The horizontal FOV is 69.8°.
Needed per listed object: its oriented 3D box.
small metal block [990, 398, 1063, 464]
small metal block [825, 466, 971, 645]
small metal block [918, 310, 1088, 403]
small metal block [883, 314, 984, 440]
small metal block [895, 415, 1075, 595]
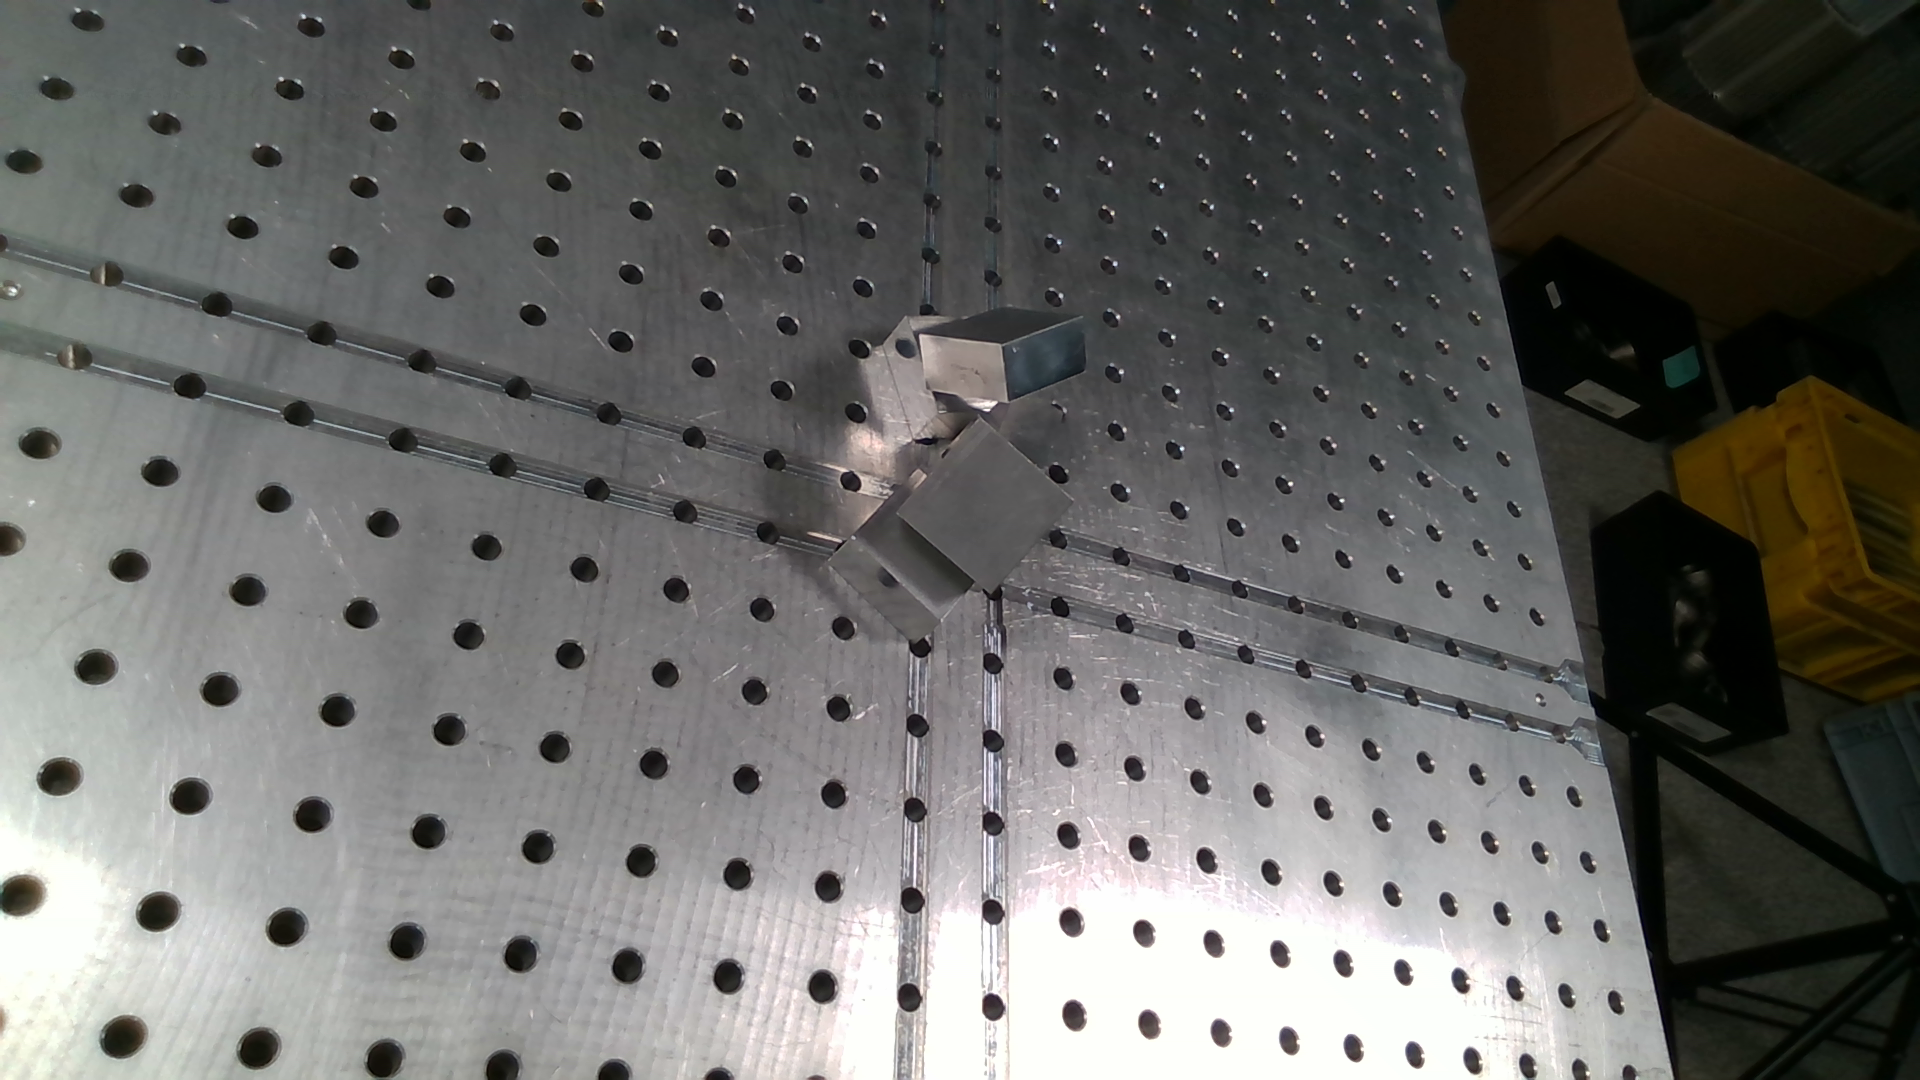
[{"bbox_3d":[0.016,-0.032,0.600,0.025,0.050,0.050,31,53,-14],"label":"small metal block"},{"bbox_3d":[-0.019,0.006,0.574,0.050,0.025,0.050,44,51,-4],"label":"small metal block"},{"bbox_3d":[0.019,-0.081,0.592,0.050,0.050,0.025,-26,118,-38],"label":"small metal block"},{"bbox_3d":[-0.002,-0.075,0.628,0.050,0.025,0.050,-6,69,-34],"label":"small metal block"},{"bbox_3d":[0.009,-0.015,0.553,0.050,0.025,0.050,41,95,-7],"label":"small metal block"}]
